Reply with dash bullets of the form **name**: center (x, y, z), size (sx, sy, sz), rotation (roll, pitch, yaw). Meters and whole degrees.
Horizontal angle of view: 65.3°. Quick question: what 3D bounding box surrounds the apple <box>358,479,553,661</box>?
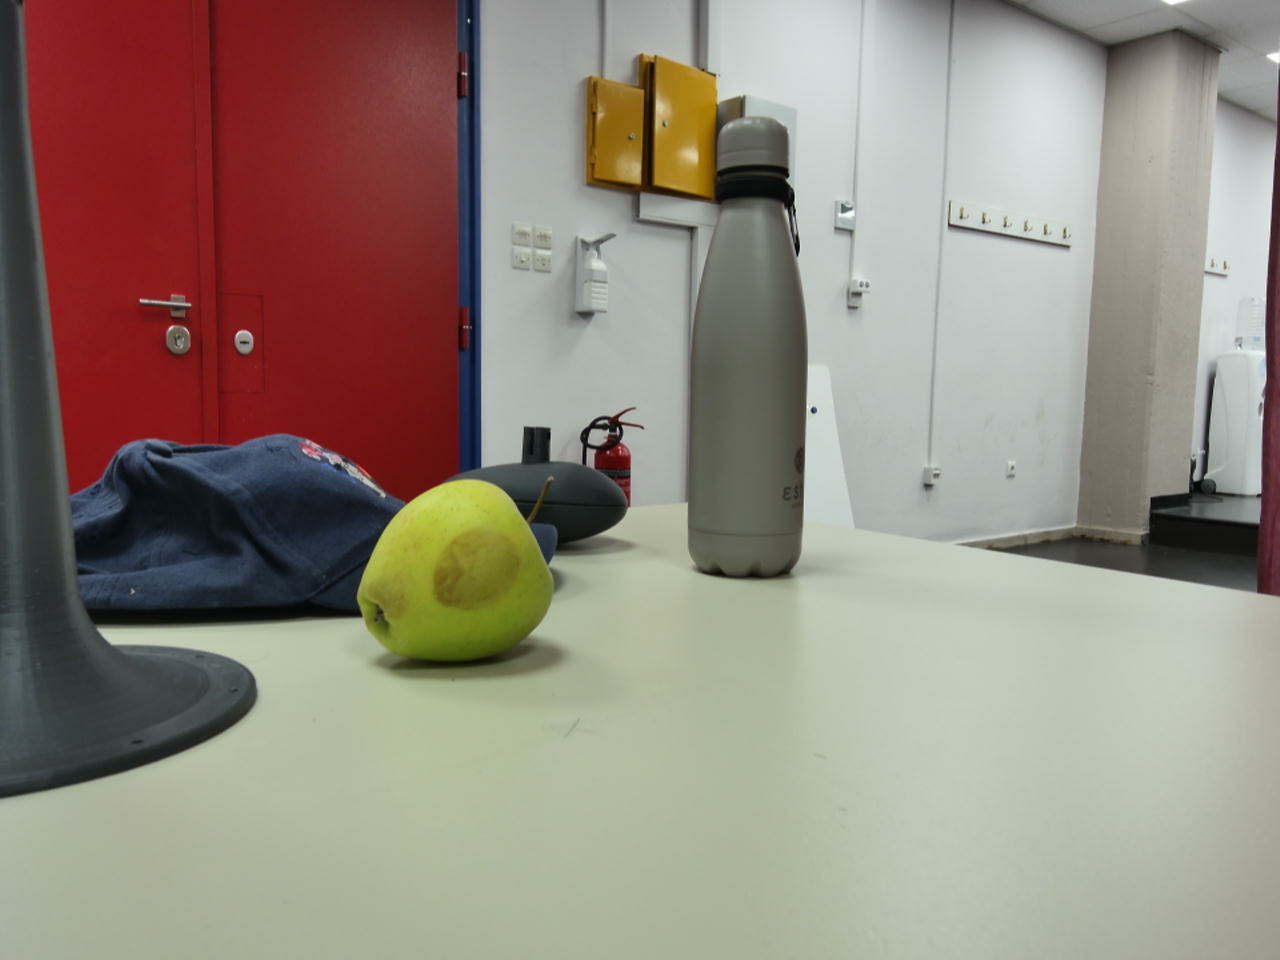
- **apple**: center (-0.078, 0.039, 0.432), size (0.077, 0.075, 0.072), rotation (1, 4, 6)
